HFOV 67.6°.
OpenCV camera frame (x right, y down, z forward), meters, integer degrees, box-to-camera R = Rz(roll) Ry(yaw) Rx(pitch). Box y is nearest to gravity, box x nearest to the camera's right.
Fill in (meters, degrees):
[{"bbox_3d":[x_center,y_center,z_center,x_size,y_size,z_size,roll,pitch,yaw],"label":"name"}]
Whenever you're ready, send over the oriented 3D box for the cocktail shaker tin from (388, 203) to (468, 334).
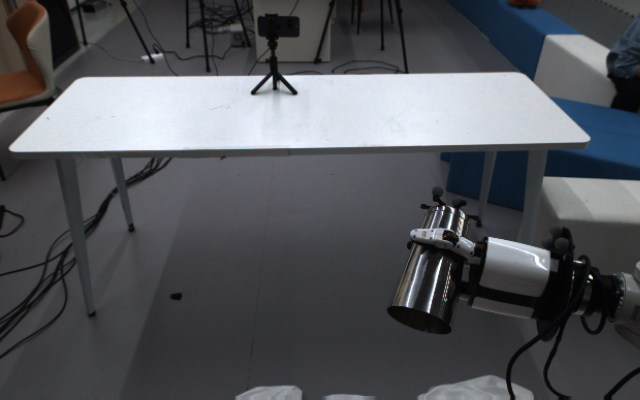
[{"bbox_3d":[0.164,0.093,0.697,0.093,0.093,0.170,15,61,18],"label":"cocktail shaker tin"}]
